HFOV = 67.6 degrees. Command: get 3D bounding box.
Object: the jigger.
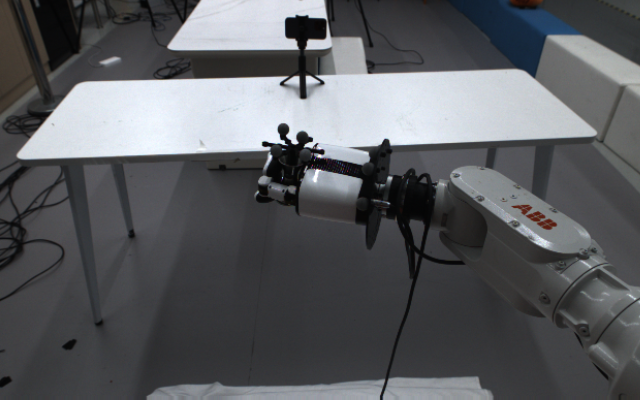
[{"bbox_3d":[-0.042,-0.030,0.712,0.043,0.071,0.043,6,32,-4],"label":"jigger"}]
